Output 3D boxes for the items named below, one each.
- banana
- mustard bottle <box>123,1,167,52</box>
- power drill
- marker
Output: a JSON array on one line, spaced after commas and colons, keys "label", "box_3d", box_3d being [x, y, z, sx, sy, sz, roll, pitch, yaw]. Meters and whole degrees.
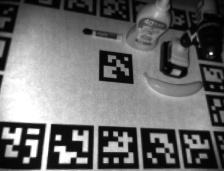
[{"label": "banana", "box_3d": [0.176, 0.007, 0.662, 0.198, 0.039, 0.074, 12, 68, -9]}, {"label": "mustard bottle", "box_3d": [0.102, -0.171, 0.624, 0.097, 0.191, 0.058, 16, 65, -9]}, {"label": "power drill", "box_3d": [0.208, -0.108, 0.611, 0.057, 0.186, 0.184, 19, 63, -9]}, {"label": "marker", "box_3d": [-0.041, -0.160, 0.674, 0.122, 0.019, 0.019, 7, 68, -13]}]
